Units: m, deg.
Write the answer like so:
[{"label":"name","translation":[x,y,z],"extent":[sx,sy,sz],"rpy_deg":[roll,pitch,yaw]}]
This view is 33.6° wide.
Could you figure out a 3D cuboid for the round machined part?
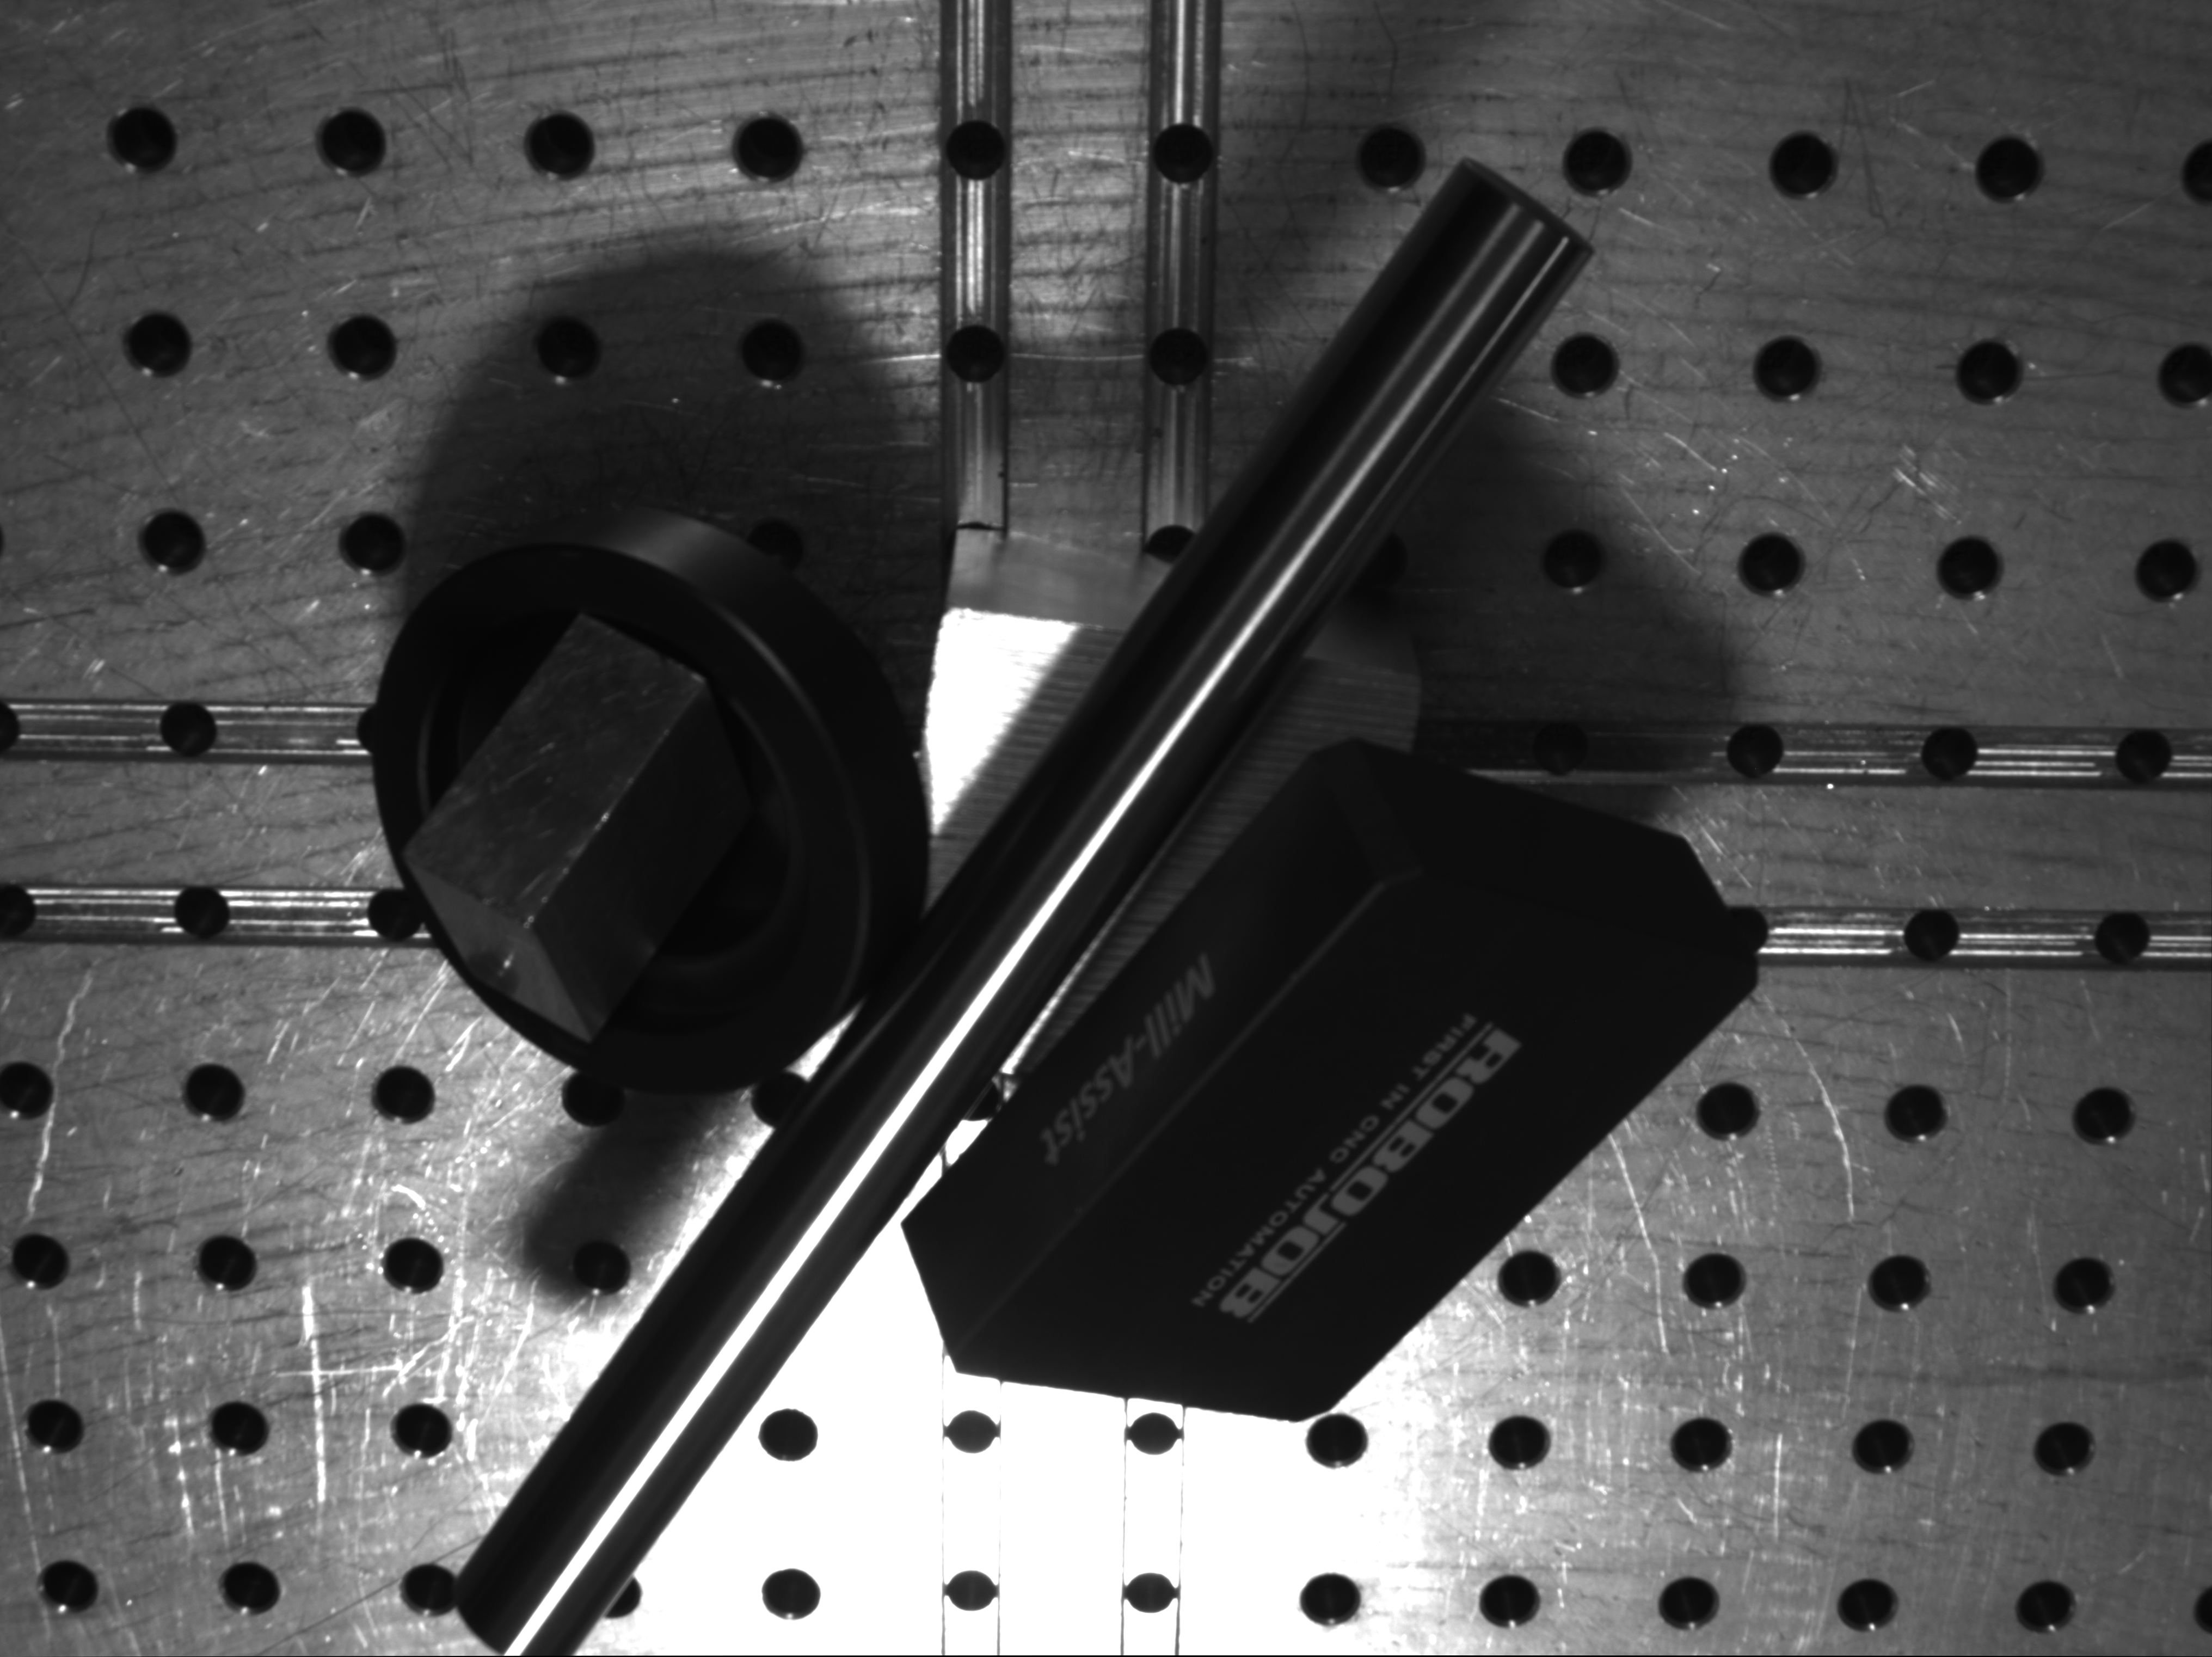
[{"label":"round machined part","translation":[-0.074,-0.007,0.619],"extent":[0.098,0.042,0.098],"rpy_deg":[10,115,23]}]

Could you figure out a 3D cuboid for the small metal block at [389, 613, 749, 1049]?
[{"label":"small metal block","translation":[-0.087,0.001,0.602],"extent":[0.025,0.050,0.050],"rpy_deg":[29,70,16]}]

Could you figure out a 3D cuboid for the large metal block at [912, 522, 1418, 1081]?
[{"label":"large metal block","translation":[0.005,-0.002,0.631],"extent":[0.080,0.050,0.080],"rpy_deg":[8,110,-4]}]

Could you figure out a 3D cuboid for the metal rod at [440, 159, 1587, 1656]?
[{"label":"metal rod","translation":[-0.021,0.022,0.600],"extent":[0.025,0.025,0.300],"rpy_deg":[33,106,-12]}]

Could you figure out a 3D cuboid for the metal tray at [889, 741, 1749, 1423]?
[{"label":"metal tray","translation":[0.035,0.048,0.625],"extent":[0.090,0.030,0.130],"rpy_deg":[15,128,-39]}]
